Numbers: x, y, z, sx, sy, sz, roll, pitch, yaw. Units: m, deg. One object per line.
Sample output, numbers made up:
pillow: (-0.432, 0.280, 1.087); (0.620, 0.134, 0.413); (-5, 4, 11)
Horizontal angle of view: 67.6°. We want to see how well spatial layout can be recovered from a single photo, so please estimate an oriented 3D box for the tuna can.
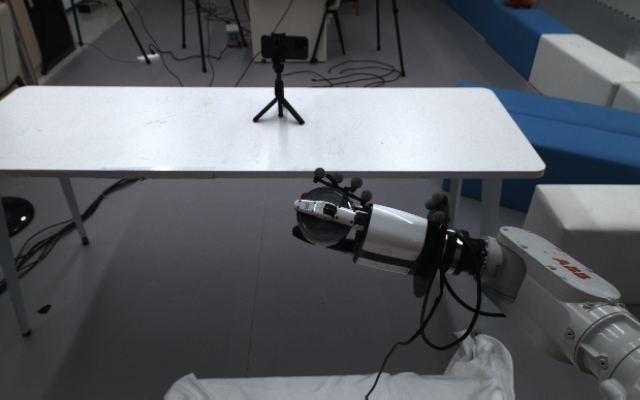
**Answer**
tuna can: (0.009, 0.025, 0.723); (0.085, 0.034, 0.085); (0, 72, 0)
